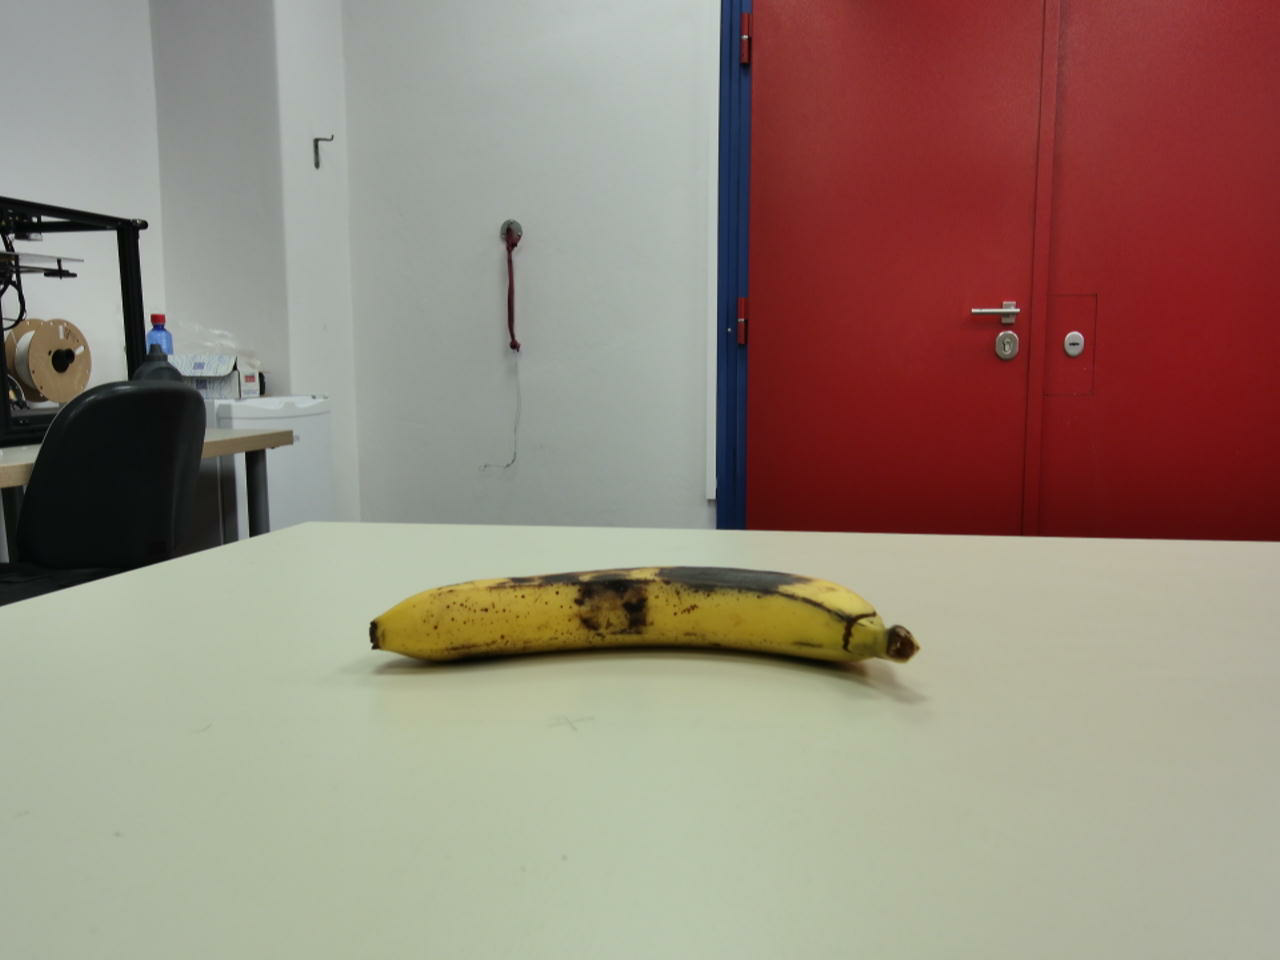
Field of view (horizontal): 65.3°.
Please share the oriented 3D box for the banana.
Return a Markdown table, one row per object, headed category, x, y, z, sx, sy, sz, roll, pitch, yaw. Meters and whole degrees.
| category | x | y | z | sx | sy | sz | roll | pitch | yaw |
| --- | --- | --- | --- | --- | --- | --- | --- | --- | --- |
| banana | 0.002 | 0.059 | 0.431 | 0.222 | 0.037 | 0.084 | 1 | 4 | 13 |
